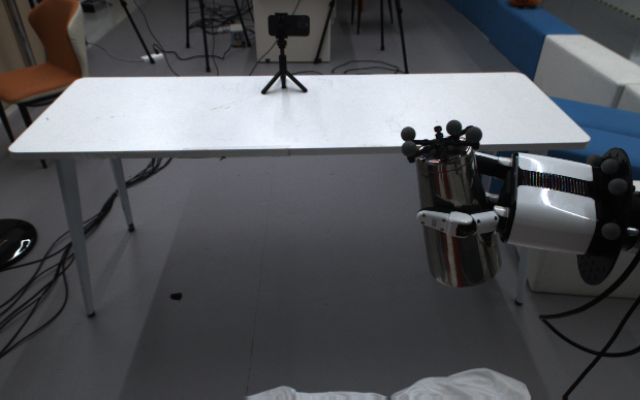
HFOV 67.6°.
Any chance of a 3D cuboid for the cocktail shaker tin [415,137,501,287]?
[{"bbox_3d":[0.166,0.012,0.595,0.093,0.170,0.093,-15,29,8],"label":"cocktail shaker tin"}]
